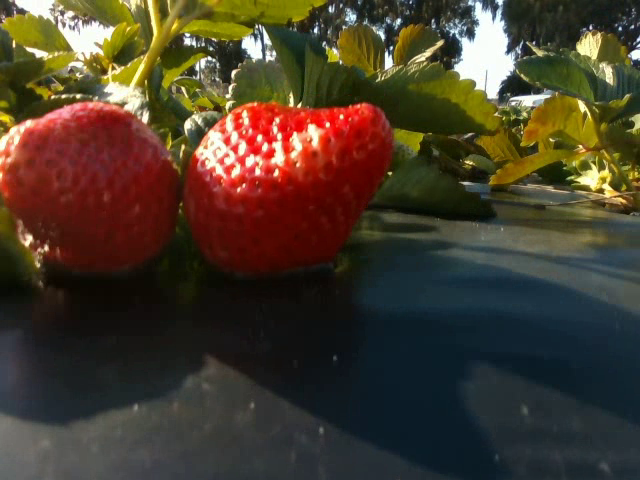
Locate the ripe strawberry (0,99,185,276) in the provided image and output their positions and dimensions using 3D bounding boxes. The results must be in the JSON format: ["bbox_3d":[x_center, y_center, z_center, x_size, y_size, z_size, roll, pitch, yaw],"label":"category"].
[{"bbox_3d":[-0.057,-0.016,0.139,0.050,0.044,0.061,23,1,5],"label":"ripe strawberry"}]

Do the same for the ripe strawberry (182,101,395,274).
[{"bbox_3d":[-0.003,-0.017,0.146,0.067,0.052,0.056,-21,16,49],"label":"ripe strawberry"}]
